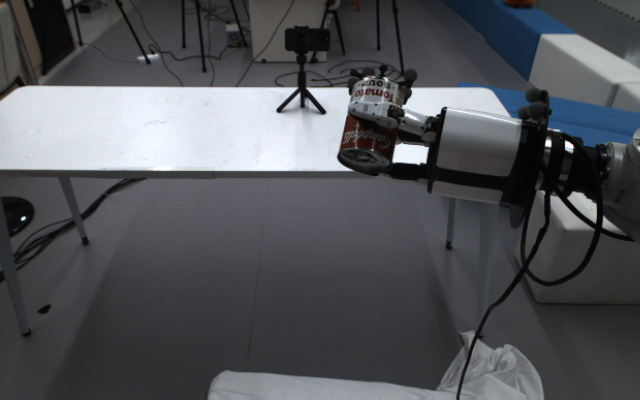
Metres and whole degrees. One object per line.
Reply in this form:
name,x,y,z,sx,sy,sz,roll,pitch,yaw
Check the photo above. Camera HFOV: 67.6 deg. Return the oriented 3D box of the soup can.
soup can,0.065,-0.094,0.600,0.067,0.067,0.101,9,72,10
